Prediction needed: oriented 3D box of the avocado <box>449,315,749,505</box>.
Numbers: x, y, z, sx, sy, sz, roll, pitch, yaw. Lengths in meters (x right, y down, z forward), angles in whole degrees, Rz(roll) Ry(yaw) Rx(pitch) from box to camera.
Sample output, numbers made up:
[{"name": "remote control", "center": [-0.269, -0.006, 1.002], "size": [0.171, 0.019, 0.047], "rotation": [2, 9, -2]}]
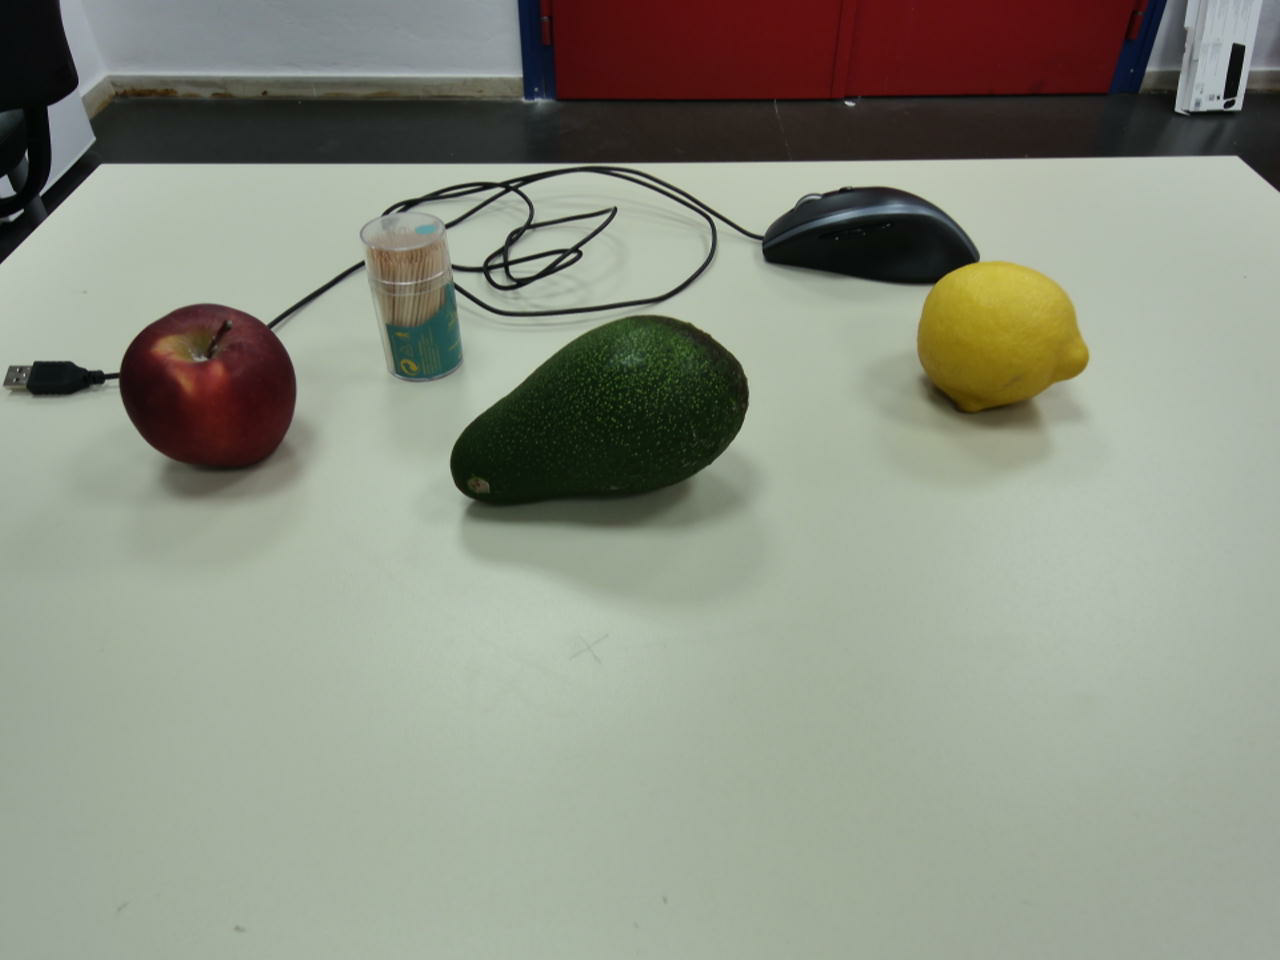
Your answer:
[{"name": "avocado", "center": [-0.016, -0.032, 0.423], "size": [0.123, 0.076, 0.074], "rotation": [4, 39, 5]}]
